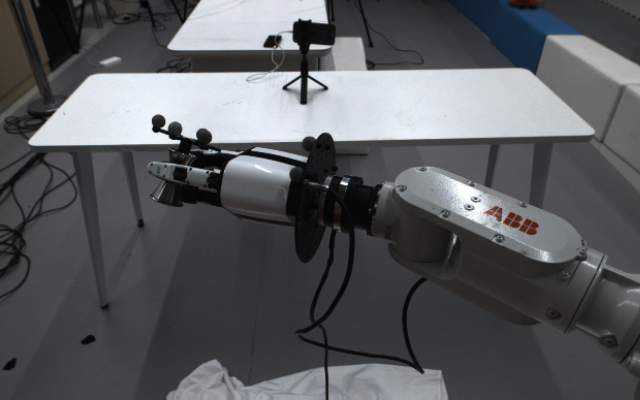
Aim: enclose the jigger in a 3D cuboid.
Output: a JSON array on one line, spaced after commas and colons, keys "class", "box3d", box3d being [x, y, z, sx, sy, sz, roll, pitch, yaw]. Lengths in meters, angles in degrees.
[{"class": "jigger", "box3d": [-0.188, -0.030, 0.623, 0.043, 0.071, 0.043, 21, 6, -2]}]
